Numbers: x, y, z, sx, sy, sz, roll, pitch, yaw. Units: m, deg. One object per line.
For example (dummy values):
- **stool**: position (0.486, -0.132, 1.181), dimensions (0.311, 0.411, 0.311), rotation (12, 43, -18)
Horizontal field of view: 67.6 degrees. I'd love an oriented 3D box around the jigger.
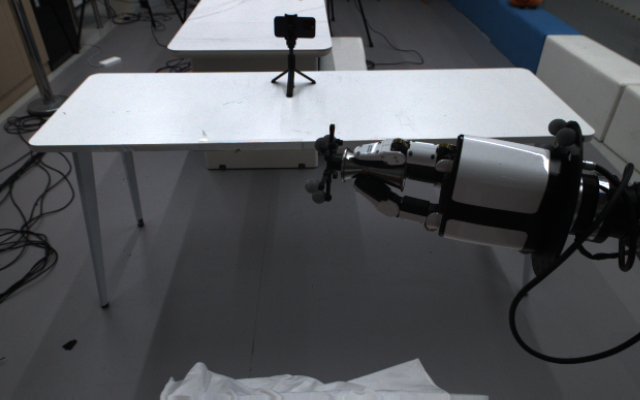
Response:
- **jigger**: position (0.068, -0.039, 0.537), dimensions (0.071, 0.043, 0.043), rotation (8, 35, 12)
